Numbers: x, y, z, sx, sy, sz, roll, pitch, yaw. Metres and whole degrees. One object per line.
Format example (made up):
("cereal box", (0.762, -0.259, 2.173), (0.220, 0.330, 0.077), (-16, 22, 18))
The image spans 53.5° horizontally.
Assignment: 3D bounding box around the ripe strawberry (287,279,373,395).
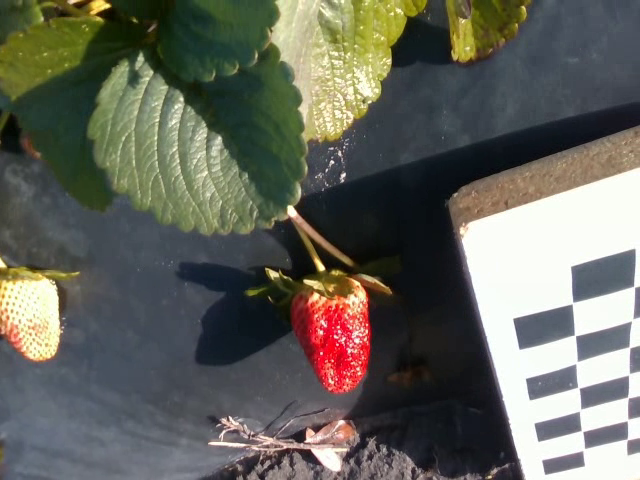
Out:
("ripe strawberry", (0.002, 0.014, 0.097), (0.015, 0.023, 0.015), (-13, -6, 3))
